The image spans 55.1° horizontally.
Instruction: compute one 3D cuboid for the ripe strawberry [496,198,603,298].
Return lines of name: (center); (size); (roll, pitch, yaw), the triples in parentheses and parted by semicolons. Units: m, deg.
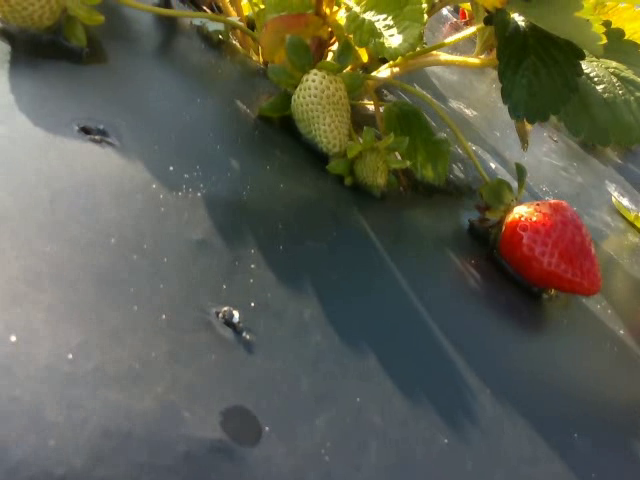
ripe strawberry: (0.077, 0.006, 0.195); (0.030, 0.045, 0.033); (-25, -36, -8)
